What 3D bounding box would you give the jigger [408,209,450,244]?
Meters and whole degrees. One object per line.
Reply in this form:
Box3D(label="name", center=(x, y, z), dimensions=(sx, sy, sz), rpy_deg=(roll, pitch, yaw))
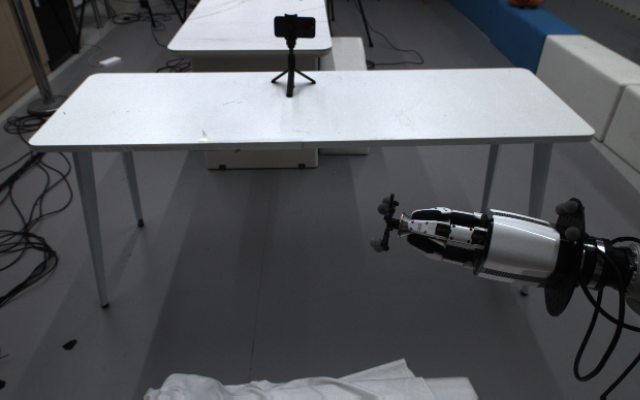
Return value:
Box3D(label="jigger", center=(0.155, 0.039, 0.693), dimensions=(0.071, 0.043, 0.043), rpy_deg=(10, 35, 15))
